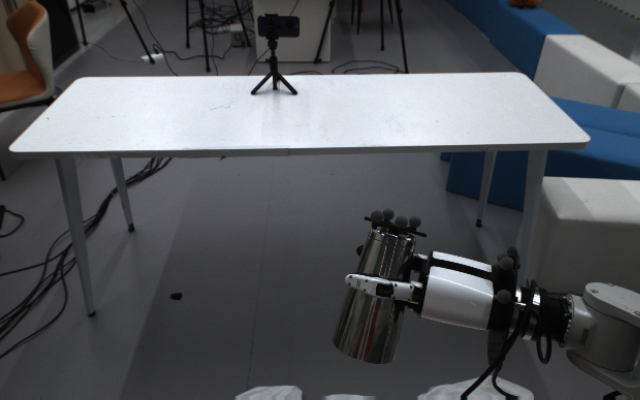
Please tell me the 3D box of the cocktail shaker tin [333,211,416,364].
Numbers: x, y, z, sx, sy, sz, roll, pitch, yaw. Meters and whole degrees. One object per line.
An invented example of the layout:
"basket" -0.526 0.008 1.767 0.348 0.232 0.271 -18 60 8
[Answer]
"cocktail shaker tin" 0.083 0.126 0.676 0.093 0.170 0.093 13 7 -2
